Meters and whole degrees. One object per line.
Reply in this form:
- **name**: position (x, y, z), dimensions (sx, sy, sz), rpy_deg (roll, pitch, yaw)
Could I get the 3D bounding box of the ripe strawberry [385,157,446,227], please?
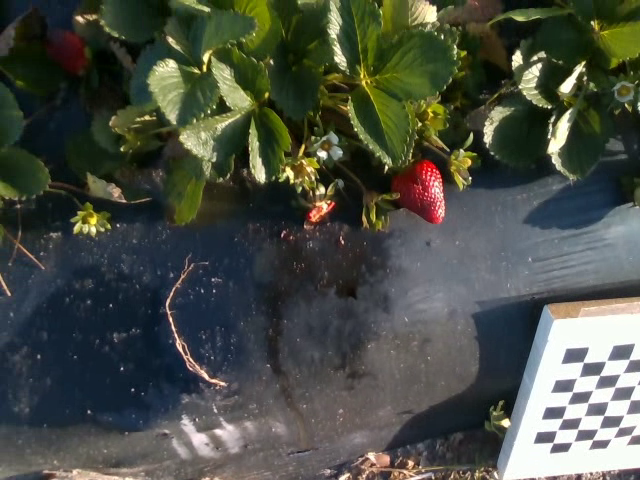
- **ripe strawberry**: position (0.087, -0.035, 0.489), dimensions (0.052, 0.052, 0.041), rpy_deg (-29, -23, 14)
